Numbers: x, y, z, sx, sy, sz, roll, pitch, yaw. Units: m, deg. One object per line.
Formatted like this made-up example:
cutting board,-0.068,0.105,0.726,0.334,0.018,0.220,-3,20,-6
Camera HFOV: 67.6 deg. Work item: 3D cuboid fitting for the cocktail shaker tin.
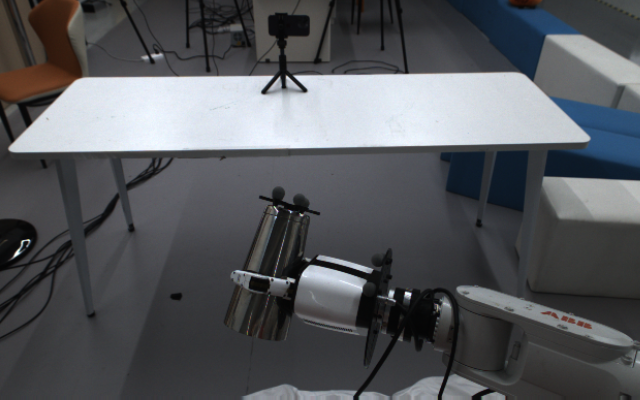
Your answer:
cocktail shaker tin,-0.066,0.098,0.675,0.093,0.170,0.093,15,-4,1
